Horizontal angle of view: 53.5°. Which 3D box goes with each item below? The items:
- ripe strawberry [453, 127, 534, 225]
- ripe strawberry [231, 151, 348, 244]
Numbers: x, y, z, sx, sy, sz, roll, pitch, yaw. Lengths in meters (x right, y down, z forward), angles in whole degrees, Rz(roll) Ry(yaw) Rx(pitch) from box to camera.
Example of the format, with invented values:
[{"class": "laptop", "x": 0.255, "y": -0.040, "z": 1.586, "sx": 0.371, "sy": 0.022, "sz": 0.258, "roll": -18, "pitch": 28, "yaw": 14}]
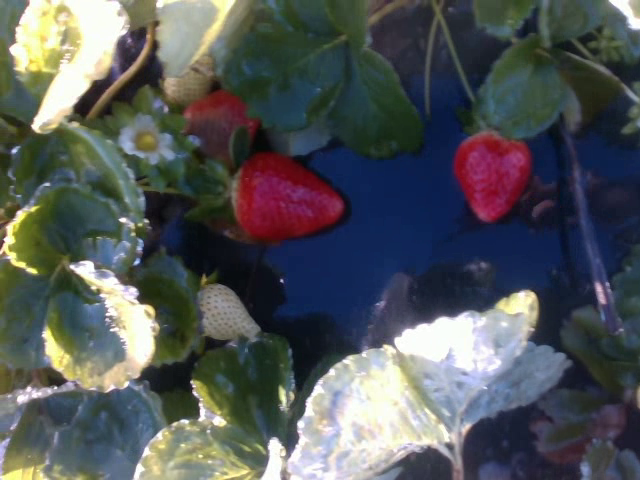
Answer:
[{"class": "ripe strawberry", "x": 0.079, "y": -0.028, "z": 0.281, "sx": 0.039, "sy": 0.047, "sz": 0.040, "roll": 3, "pitch": 1, "yaw": -1}, {"class": "ripe strawberry", "x": -0.013, "y": -0.017, "z": 0.297, "sx": 0.056, "sy": 0.044, "sz": 0.040, "roll": 14, "pitch": 12, "yaw": -3}]
